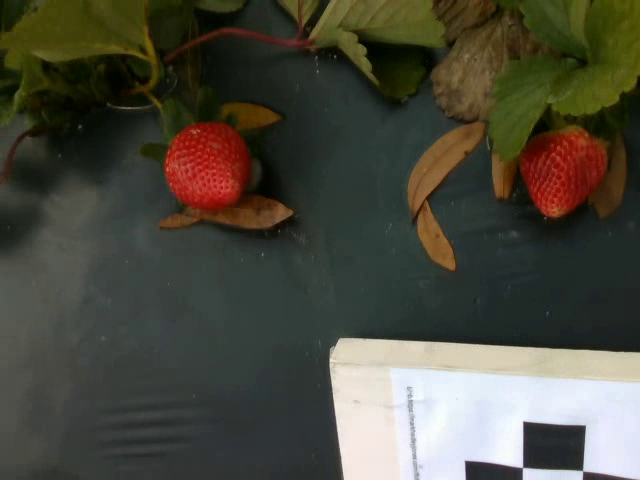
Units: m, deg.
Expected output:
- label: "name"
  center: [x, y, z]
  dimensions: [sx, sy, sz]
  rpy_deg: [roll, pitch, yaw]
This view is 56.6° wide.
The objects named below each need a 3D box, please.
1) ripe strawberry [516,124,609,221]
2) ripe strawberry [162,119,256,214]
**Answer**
- label: "ripe strawberry"
  center: [0.101, -0.024, 0.244]
  dimensions: [0.040, 0.042, 0.037]
  rpy_deg: [10, -26, 9]
- label: "ripe strawberry"
  center: [-0.049, -0.029, 0.279]
  dimensions: [0.042, 0.047, 0.065]
  rpy_deg: [-12, 26, -24]
